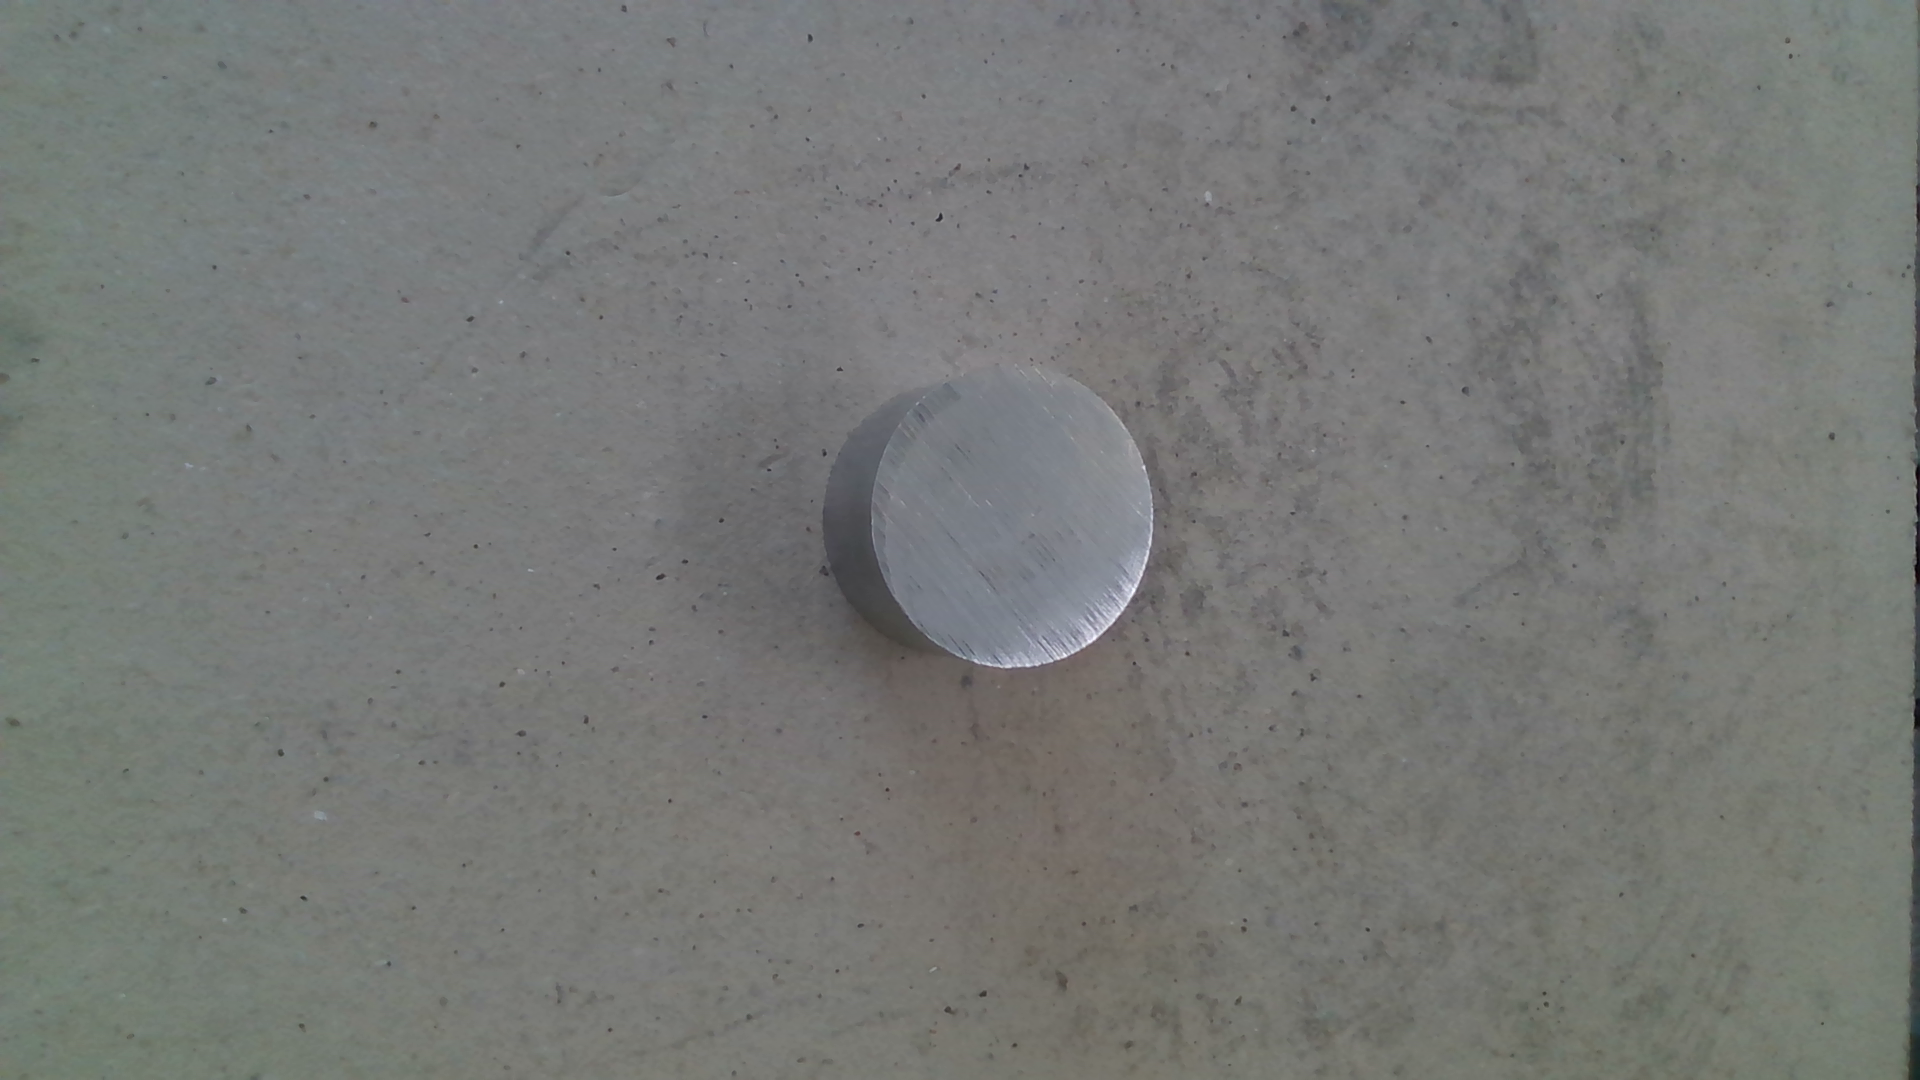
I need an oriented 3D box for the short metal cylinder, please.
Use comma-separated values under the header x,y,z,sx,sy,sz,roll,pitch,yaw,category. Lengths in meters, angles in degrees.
x,y,z,sx,sy,sz,roll,pitch,yaw,category
0.006,-0.007,0.383,0.080,0.050,0.080,0,91,-20,short metal cylinder
